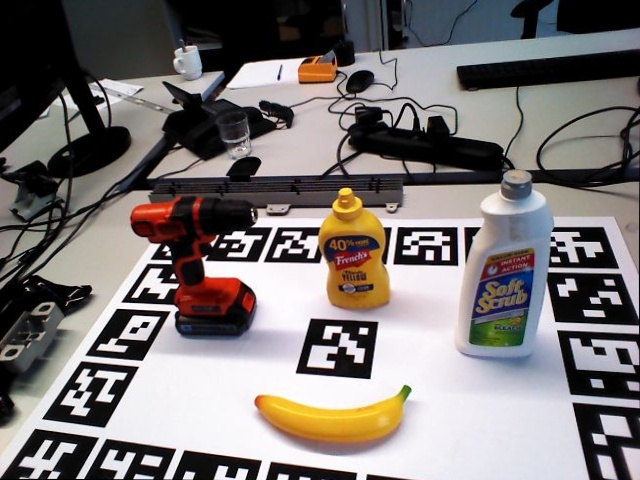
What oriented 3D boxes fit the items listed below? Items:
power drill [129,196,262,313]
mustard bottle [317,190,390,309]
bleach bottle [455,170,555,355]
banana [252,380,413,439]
[{"bbox_3d":[-0.151,0.018,0.725,0.185,0.187,0.057,-6,38,13],"label":"power drill"},{"bbox_3d":[0.047,0.013,0.729,0.096,0.192,0.058,-3,38,8],"label":"mustard bottle"},{"bbox_3d":[0.214,0.029,0.611,0.103,0.251,0.067,6,41,21],"label":"bleach bottle"},{"bbox_3d":[0.011,0.198,0.611,0.198,0.039,0.074,-5,40,13],"label":"banana"}]
